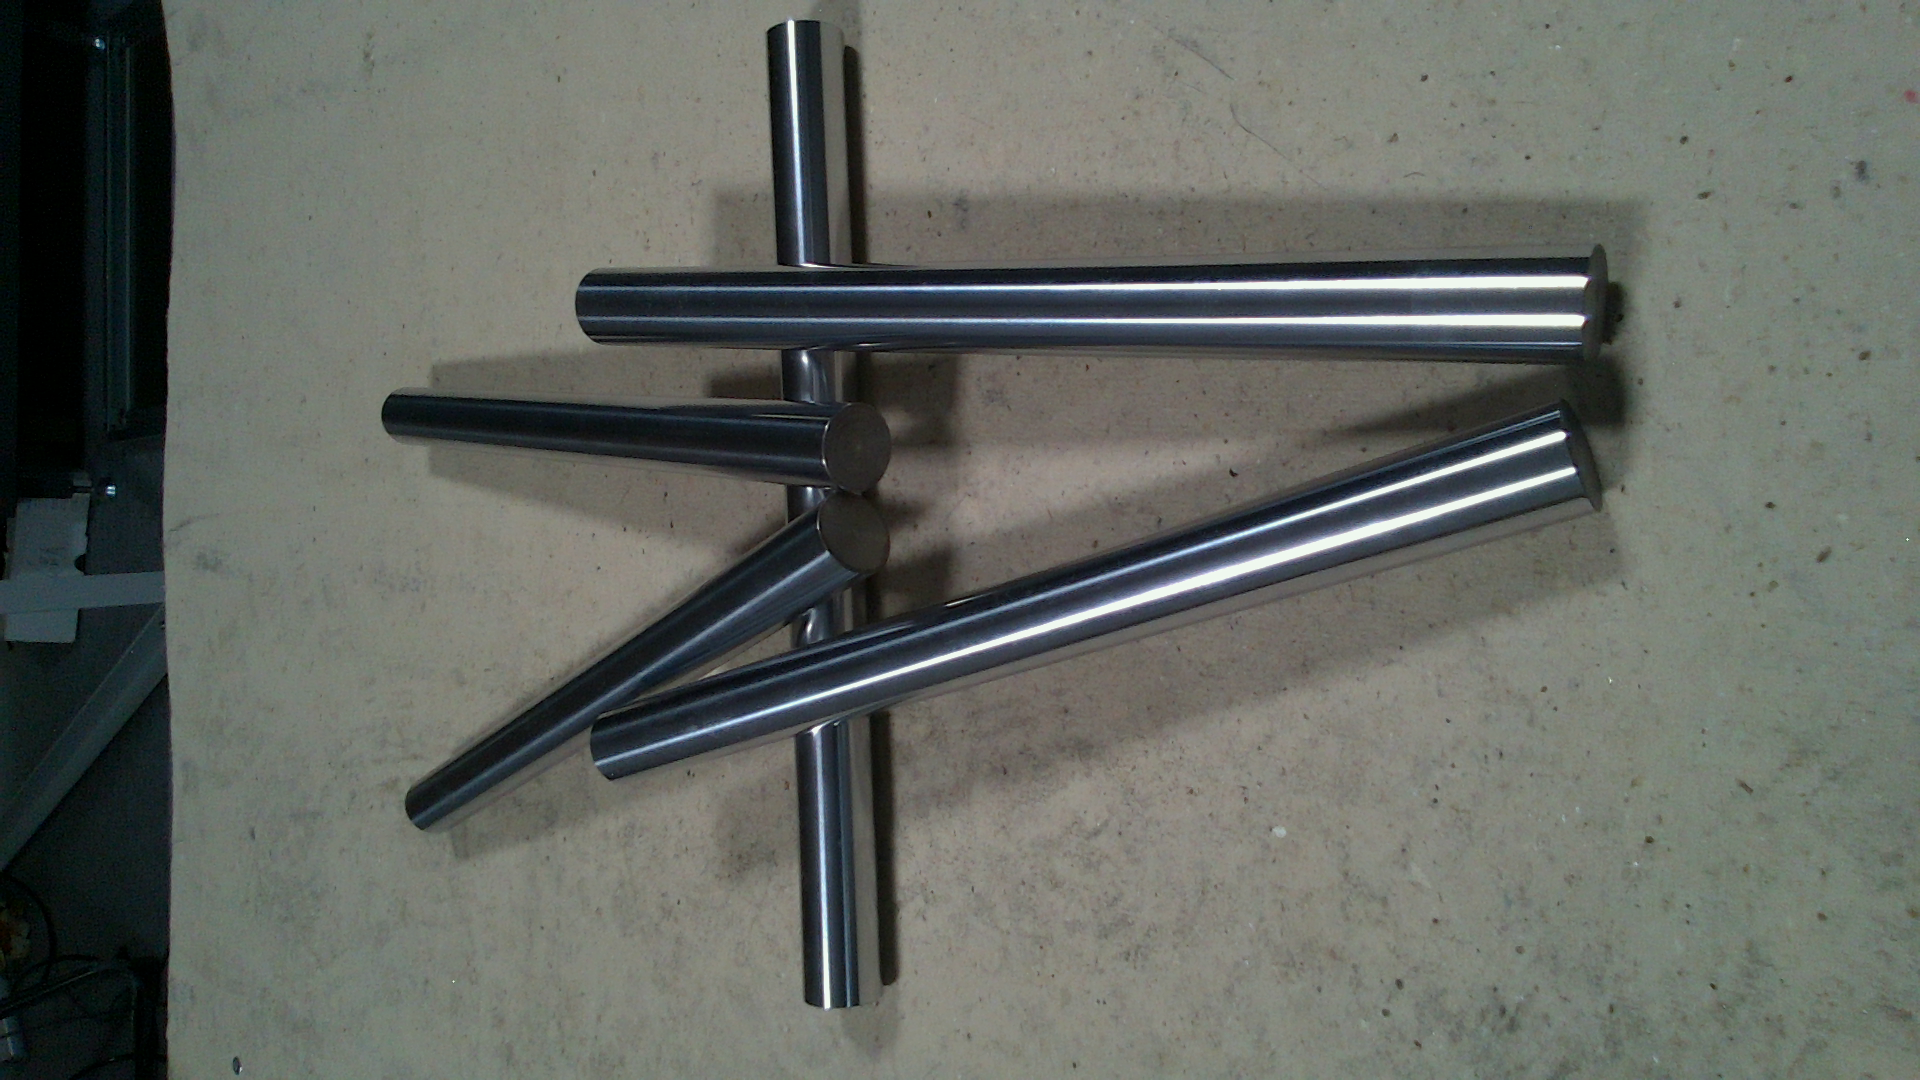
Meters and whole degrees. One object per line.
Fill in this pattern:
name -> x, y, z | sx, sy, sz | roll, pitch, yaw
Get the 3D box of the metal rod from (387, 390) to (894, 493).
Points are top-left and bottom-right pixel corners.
metal rod -> -0.131, -0.039, 0.487 | 0.299, 0.025, 0.025 | 7, 95, 46

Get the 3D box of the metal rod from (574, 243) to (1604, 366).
metal rod -> 0.007, -0.062, 0.367 | 0.299, 0.025, 0.025 | 6, 94, 34

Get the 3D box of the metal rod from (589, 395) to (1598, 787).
metal rod -> 0.010, 0.024, 0.366 | 0.299, 0.025, 0.025 | -20, 77, 32

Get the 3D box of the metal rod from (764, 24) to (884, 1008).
metal rod -> -0.043, -0.009, 0.431 | 0.025, 0.025, 0.300 | -4, 87, 40

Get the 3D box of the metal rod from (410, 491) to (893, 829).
metal rod -> -0.124, 0.054, 0.482 | 0.299, 0.025, 0.025 | -31, 71, 42
